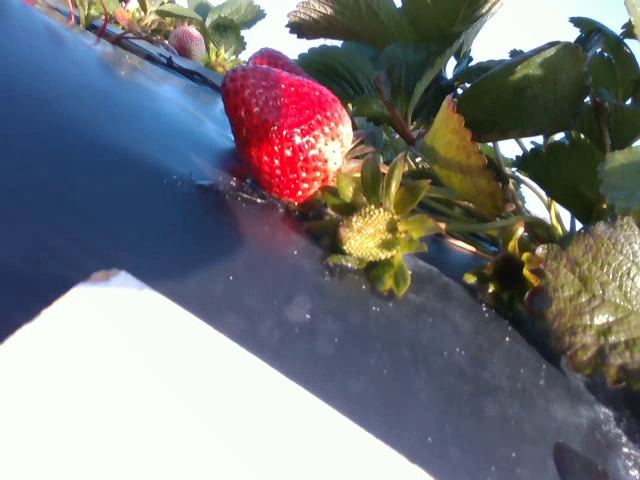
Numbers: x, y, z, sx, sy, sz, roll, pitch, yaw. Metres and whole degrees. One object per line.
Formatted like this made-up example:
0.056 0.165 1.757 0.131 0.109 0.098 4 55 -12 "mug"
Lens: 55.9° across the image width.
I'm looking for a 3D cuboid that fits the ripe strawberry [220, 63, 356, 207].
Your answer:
-0.011 -0.038 0.187 0.038 0.043 0.053 -34 -41 17 "ripe strawberry"
